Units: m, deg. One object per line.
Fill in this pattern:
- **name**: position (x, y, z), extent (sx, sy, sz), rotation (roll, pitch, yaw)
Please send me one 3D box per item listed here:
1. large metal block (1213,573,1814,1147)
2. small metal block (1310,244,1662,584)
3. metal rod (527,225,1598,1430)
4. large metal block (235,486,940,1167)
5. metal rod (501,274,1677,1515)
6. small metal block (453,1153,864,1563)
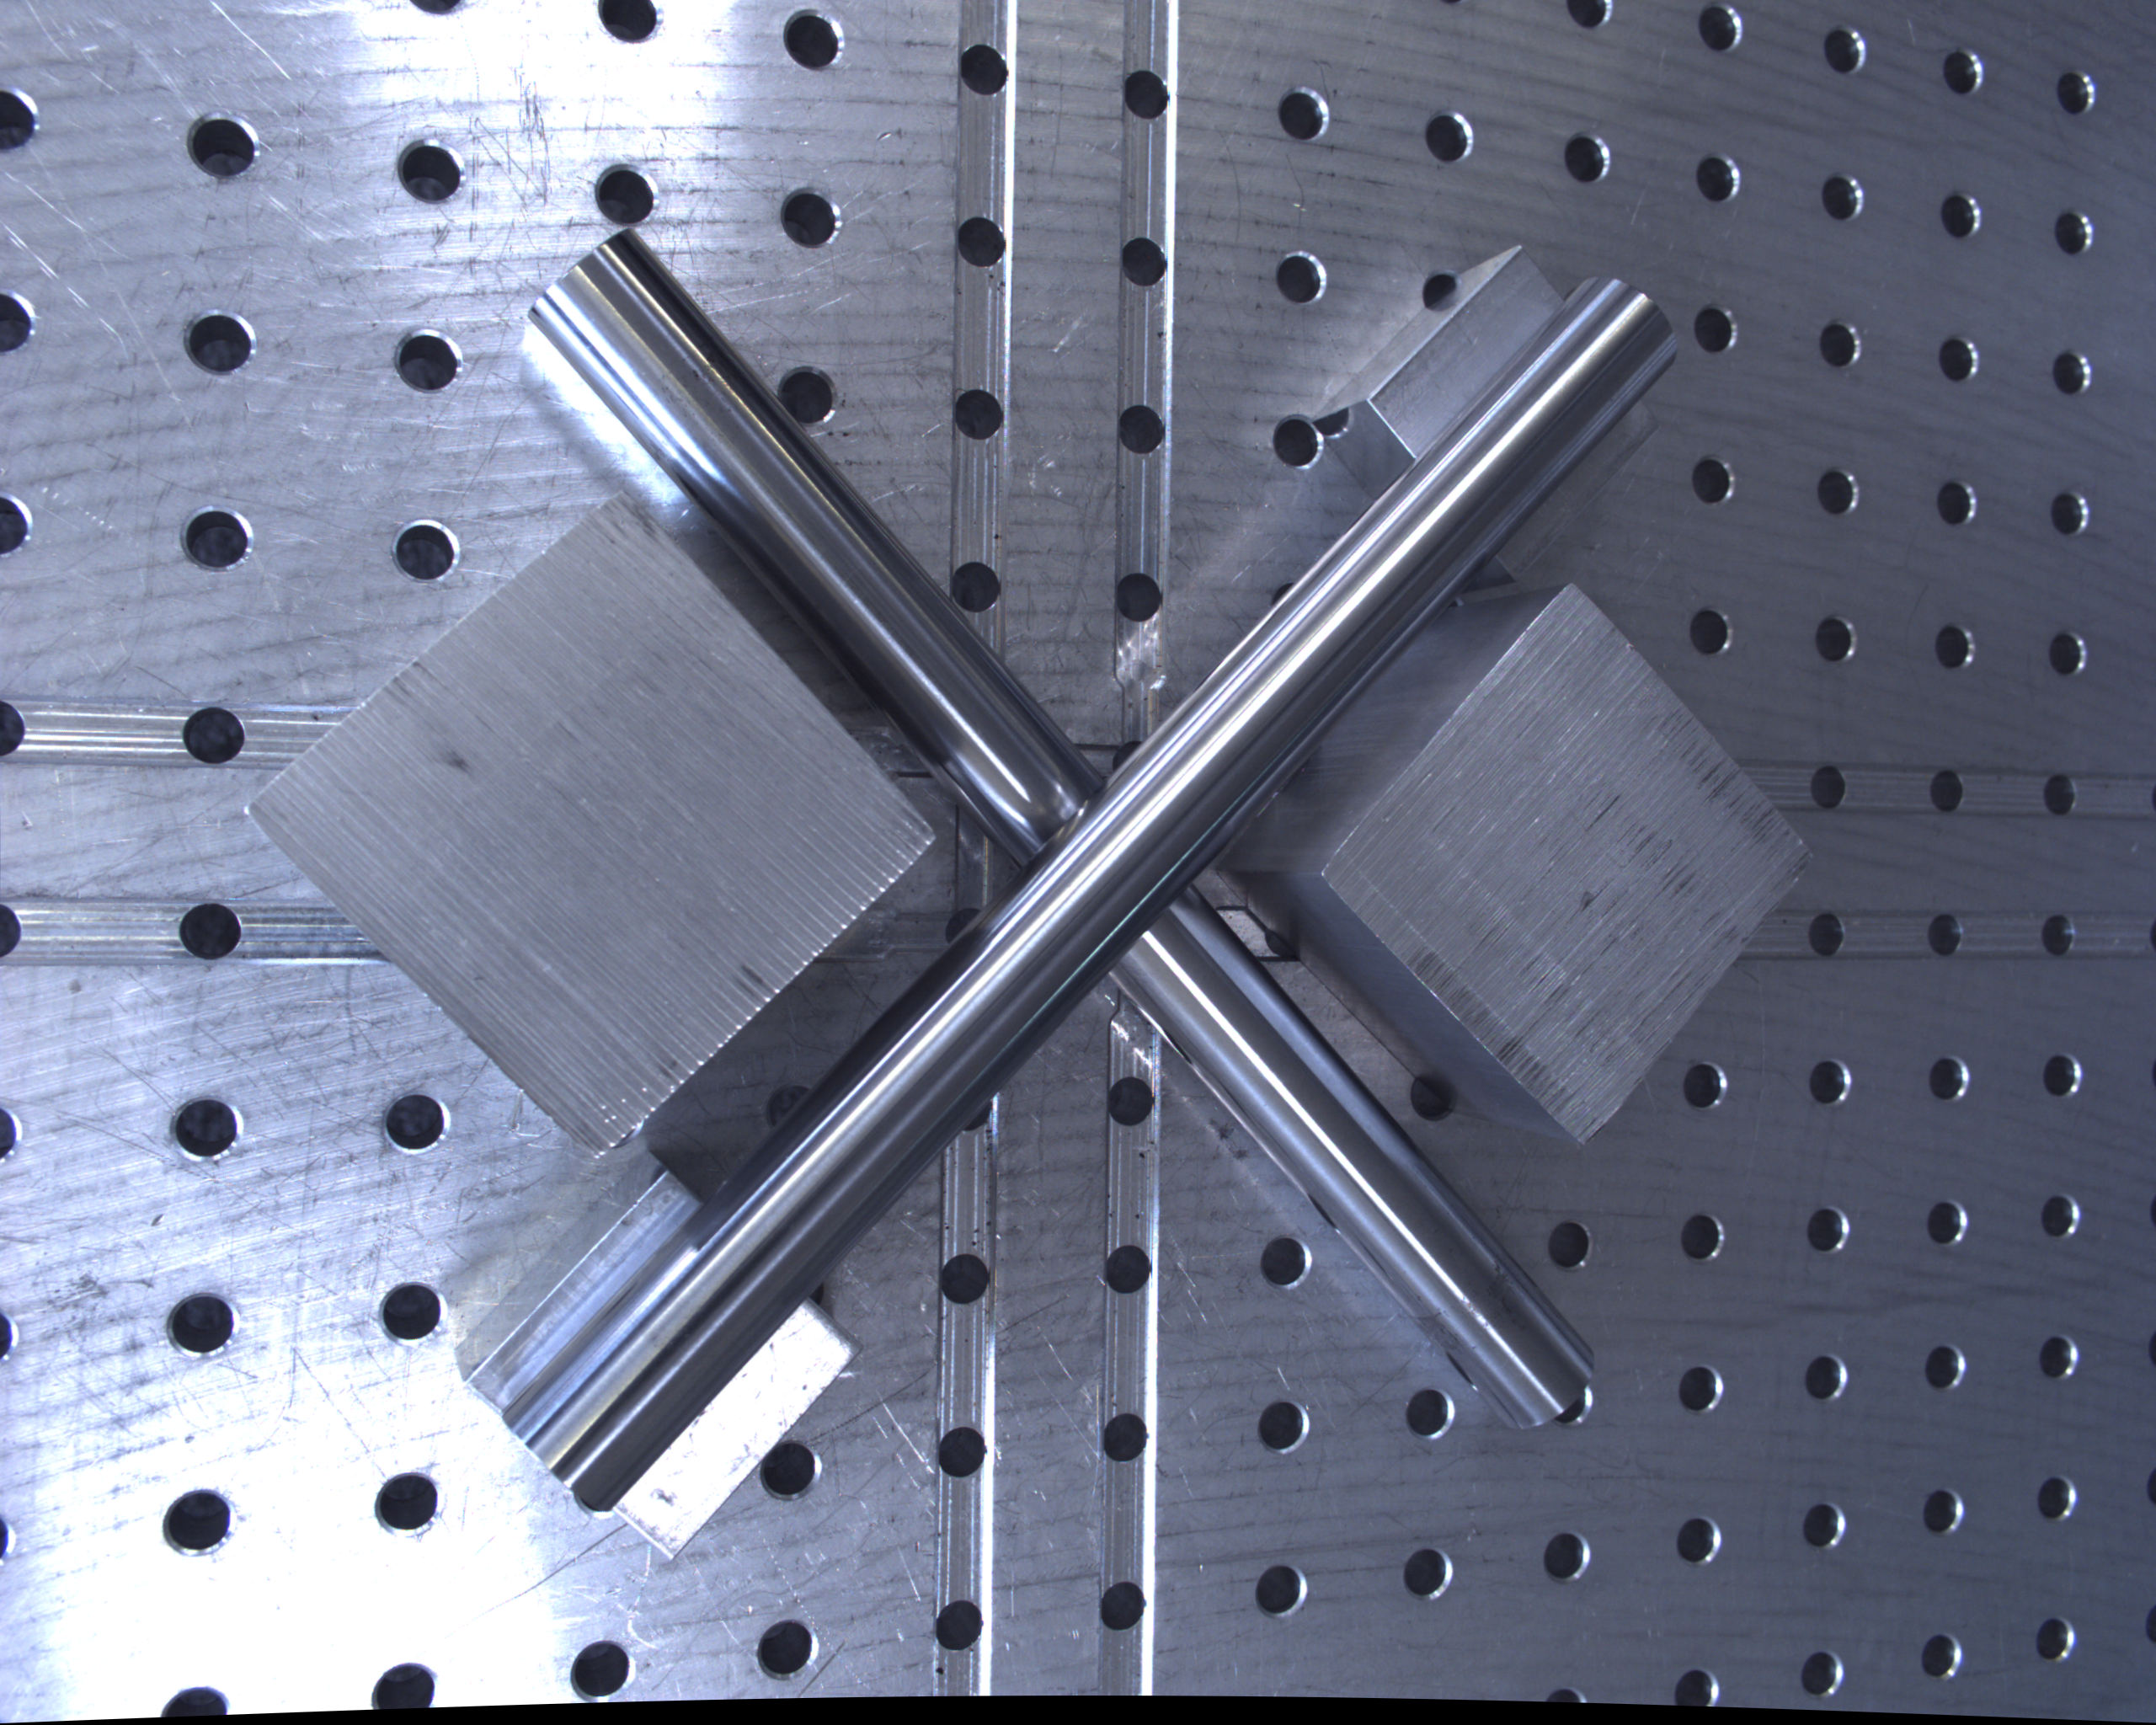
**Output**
- **large metal block**: position (0.089, -0.001, 0.432), extent (0.080, 0.050, 0.080), rotation (45, 76, -15)
- **small metal block**: position (0.087, -0.093, 0.445), extent (0.050, 0.025, 0.050), rotation (-46, 104, -14)
- **metal rod**: position (0.005, 0.003, 0.413), extent (0.025, 0.025, 0.300), rotation (-45, 104, -14)
- **large metal block**: position (-0.086, -0.006, 0.368), extent (0.080, 0.050, 0.080), rotation (-45, 104, -14)
- **metal rod**: position (0.012, -0.004, 0.390), extent (0.301, 0.025, 0.025), rotation (-47, 105, -14)
- **small metal block**: position (-0.077, 0.090, 0.384), extent (0.050, 0.025, 0.050), rotation (46, 76, -14)
